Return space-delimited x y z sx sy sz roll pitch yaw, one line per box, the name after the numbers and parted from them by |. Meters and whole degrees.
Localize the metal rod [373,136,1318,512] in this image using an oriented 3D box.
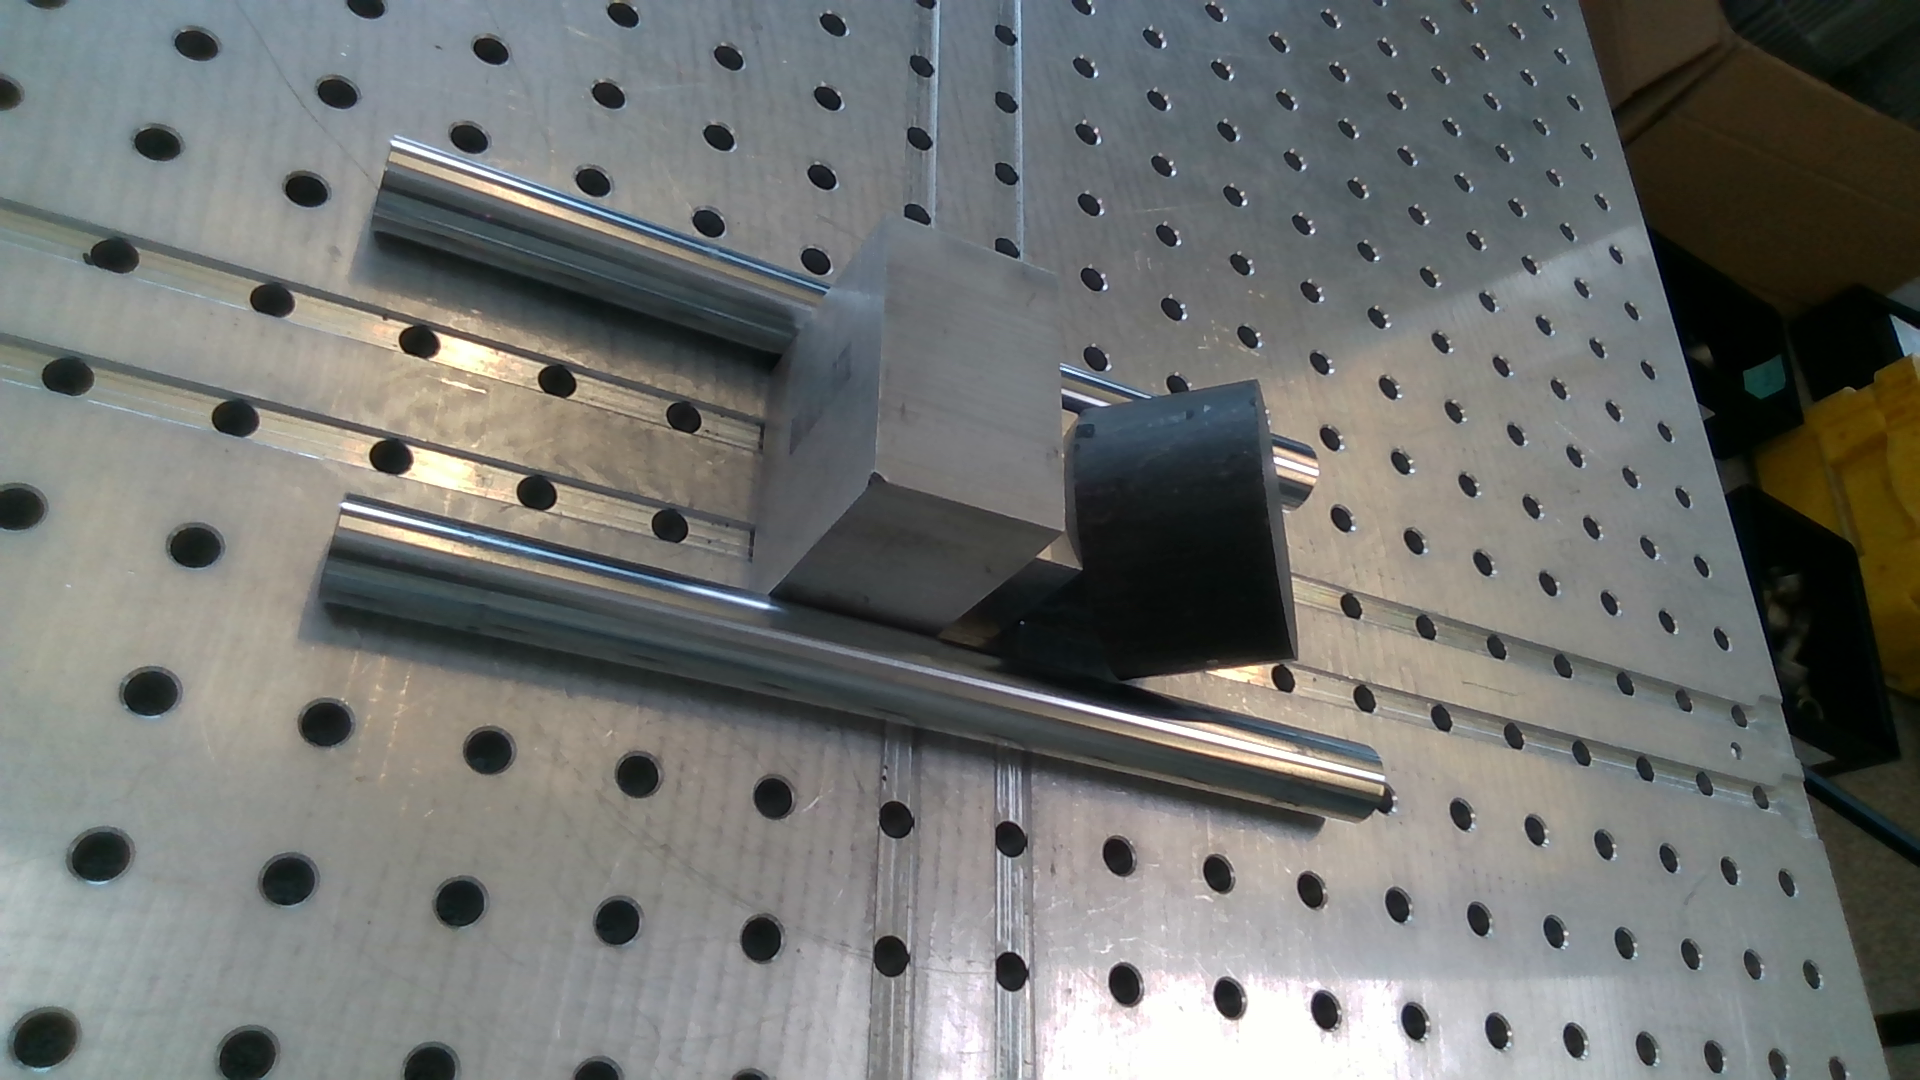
-0.016 -0.057 0.417 0.300 0.025 0.025 15 58 -25 | metal rod

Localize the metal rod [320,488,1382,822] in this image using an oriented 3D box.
-0.009 0.038 0.371 0.300 0.025 0.025 16 58 -24 | metal rod

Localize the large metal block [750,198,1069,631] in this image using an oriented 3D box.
-0.015 -0.027 0.363 0.050 0.080 0.080 15 58 -24 | large metal block

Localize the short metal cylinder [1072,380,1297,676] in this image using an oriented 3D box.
0.066 -0.003 0.395 0.080 0.050 0.080 -7 89 -74 | short metal cylinder

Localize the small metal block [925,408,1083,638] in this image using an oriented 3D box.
0.010 -0.007 0.390 0.025 0.050 0.050 16 59 -24 | small metal block
